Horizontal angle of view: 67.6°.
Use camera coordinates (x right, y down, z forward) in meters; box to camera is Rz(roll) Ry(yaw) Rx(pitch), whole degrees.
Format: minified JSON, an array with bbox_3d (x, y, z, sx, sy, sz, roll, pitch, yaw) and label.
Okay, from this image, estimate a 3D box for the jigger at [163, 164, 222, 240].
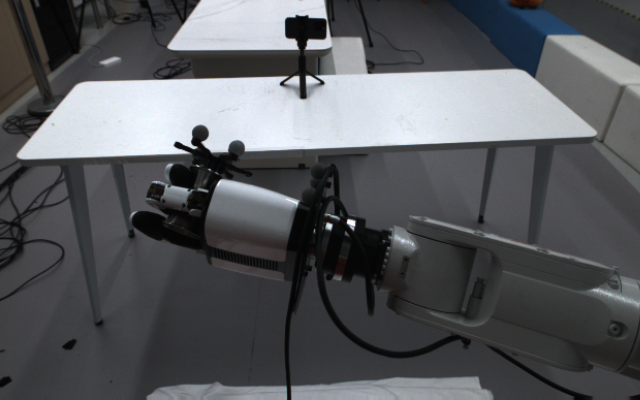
[{"bbox_3d":[-0.131,0.001,0.509,0.043,0.043,0.071,15,70,18],"label":"jigger"}]
